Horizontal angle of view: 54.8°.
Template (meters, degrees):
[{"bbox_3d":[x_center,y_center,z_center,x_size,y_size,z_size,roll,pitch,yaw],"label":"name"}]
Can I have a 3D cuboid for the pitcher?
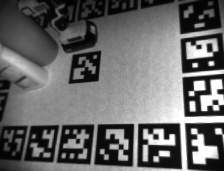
[{"bbox_3d":[-0.305,-0.178,0.644,0.188,0.245,0.132,-31,65,11],"label":"pitcher"}]

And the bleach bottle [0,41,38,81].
[{"bbox_3d":[-0.327,-0.086,0.600,0.102,0.254,0.067,-13,68,19],"label":"bleach bottle"}]

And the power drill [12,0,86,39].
[{"bbox_3d":[-0.145,-0.205,0.601,0.183,0.189,0.057,-9,72,14],"label":"power drill"}]
